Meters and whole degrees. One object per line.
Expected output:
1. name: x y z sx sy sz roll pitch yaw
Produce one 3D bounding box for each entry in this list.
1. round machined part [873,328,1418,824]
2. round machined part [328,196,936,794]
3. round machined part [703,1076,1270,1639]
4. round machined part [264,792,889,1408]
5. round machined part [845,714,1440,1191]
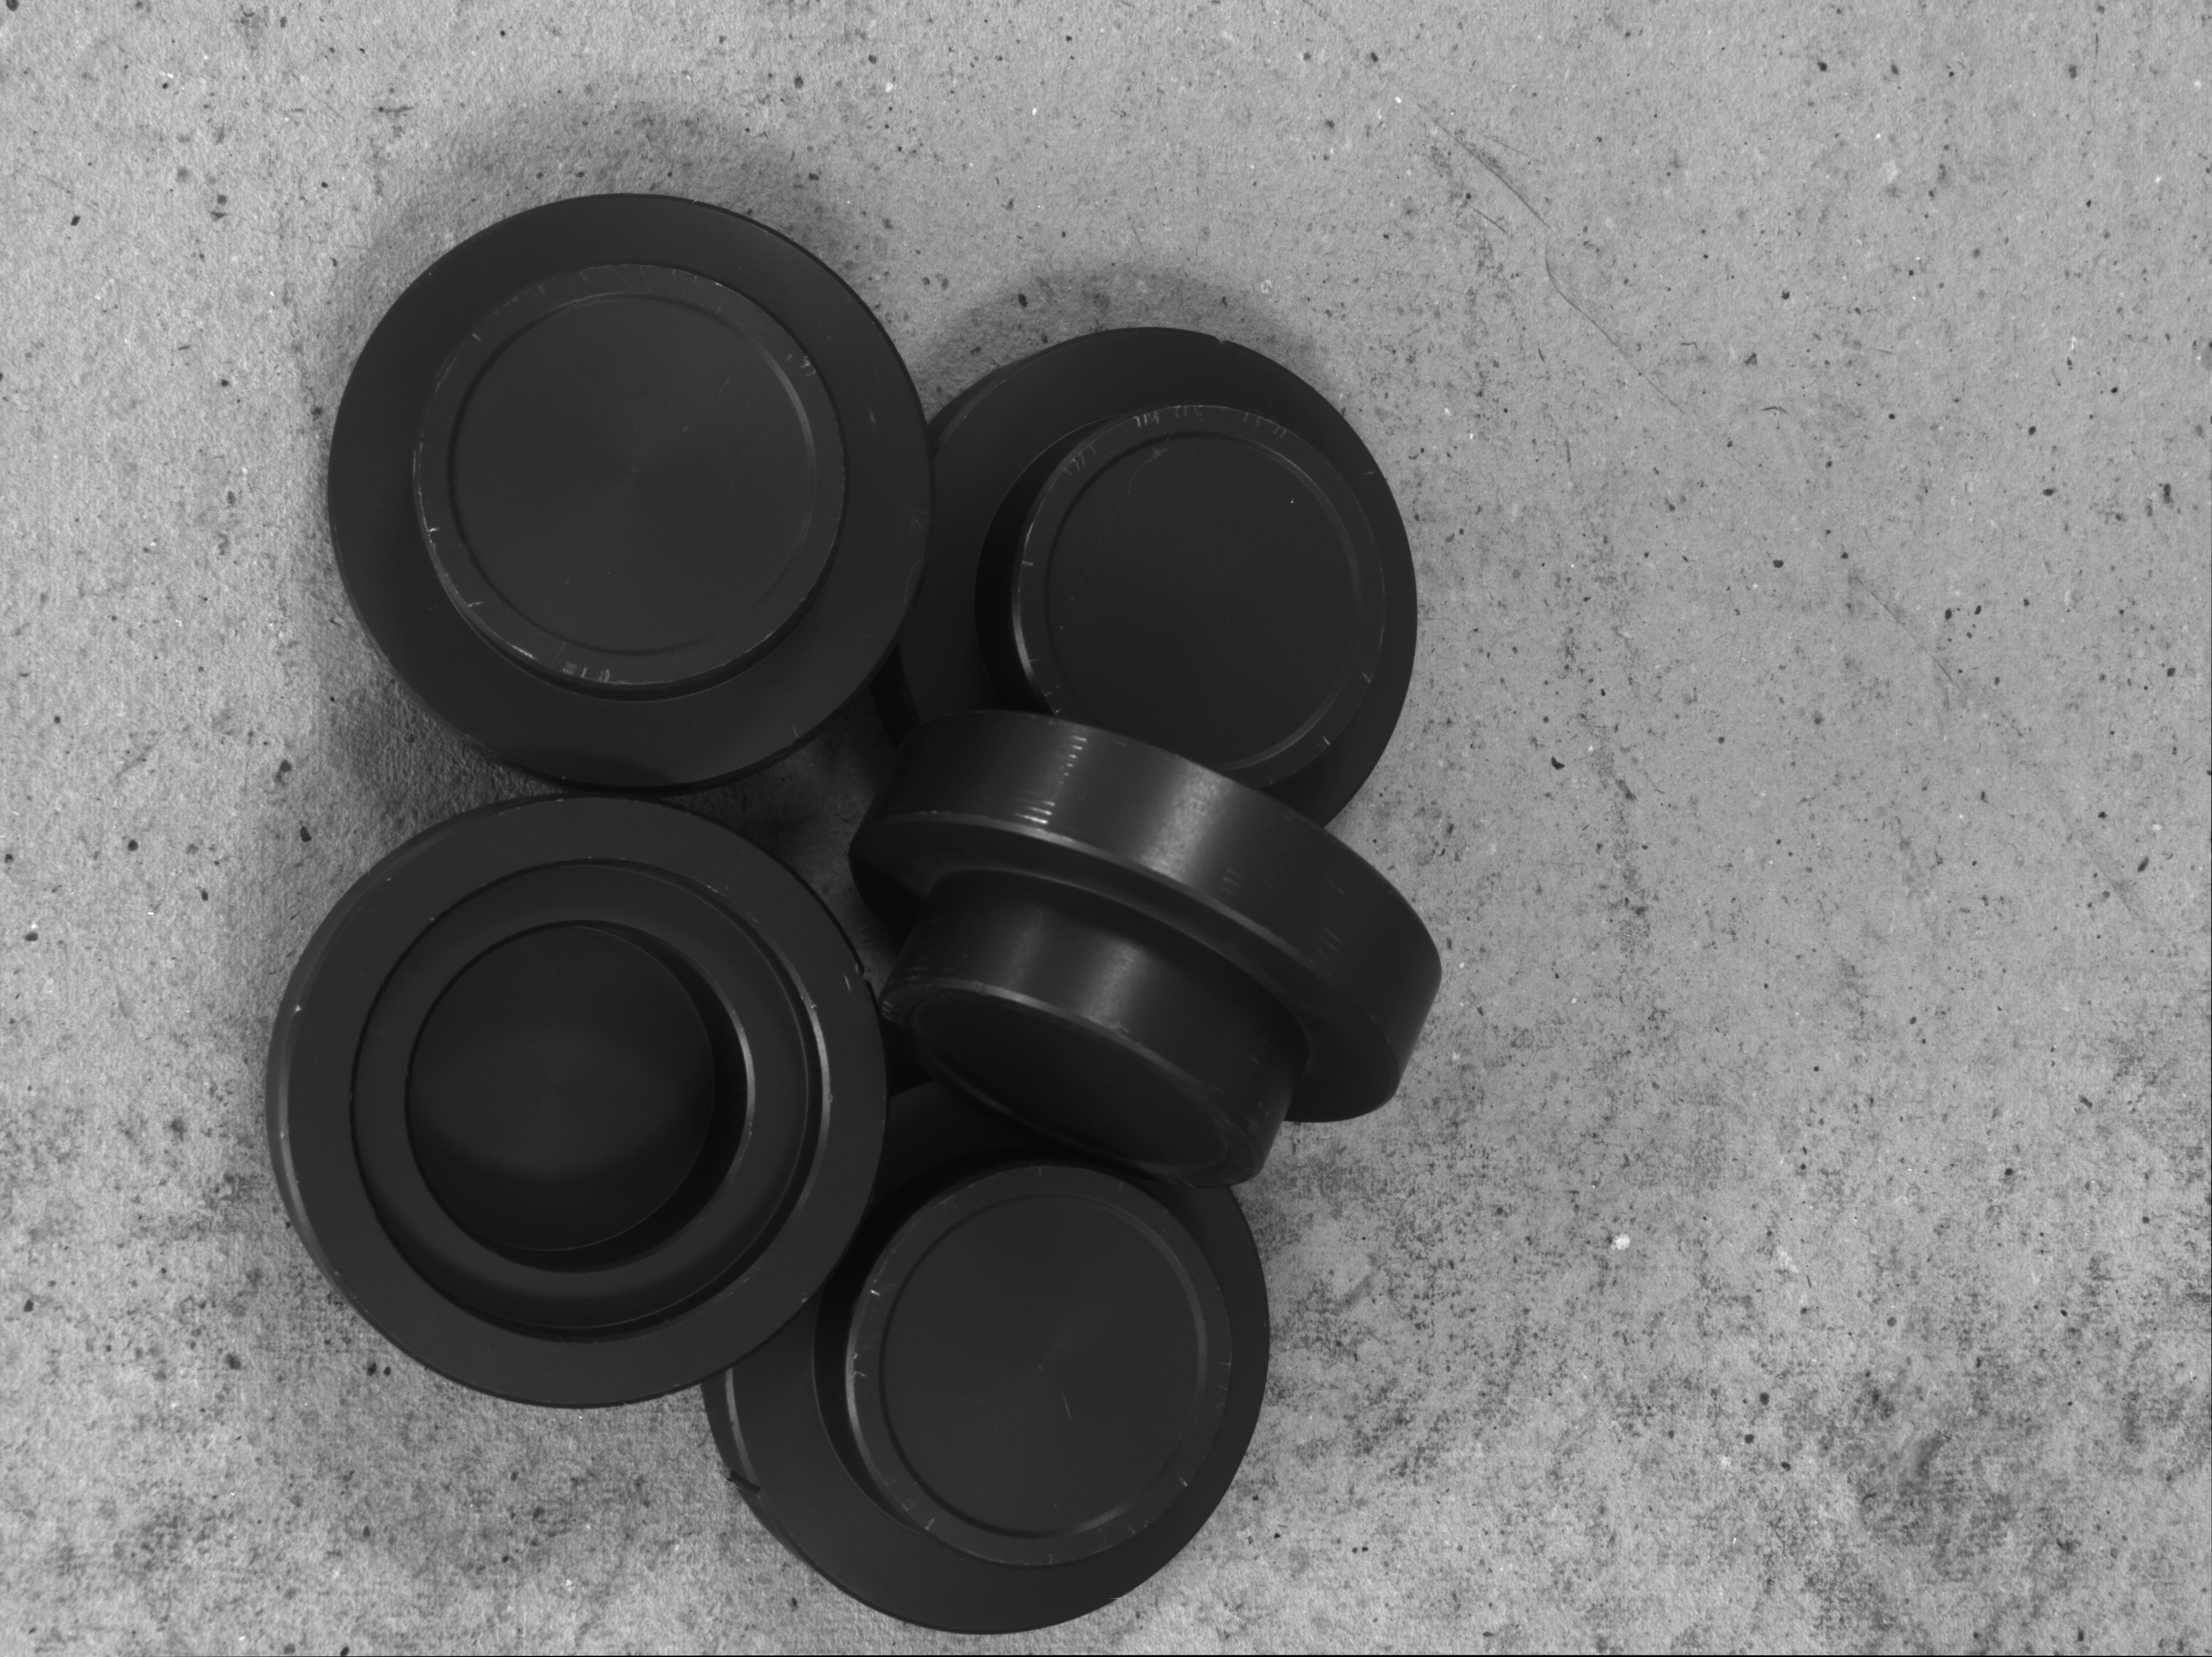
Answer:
1. round machined part: 0.010 -0.038 0.637 0.098 0.042 0.098 1 89 -20
2. round machined part: -0.077 -0.054 0.595 0.098 0.042 0.098 0 88 -6
3. round machined part: -0.017 0.090 0.628 0.098 0.042 0.098 1 88 -21
4. round machined part: -0.088 0.043 0.602 0.098 0.042 0.098 -1 92 -20
5. round machined part: 0.002 0.025 0.602 0.098 0.098 0.042 31 66 -17
